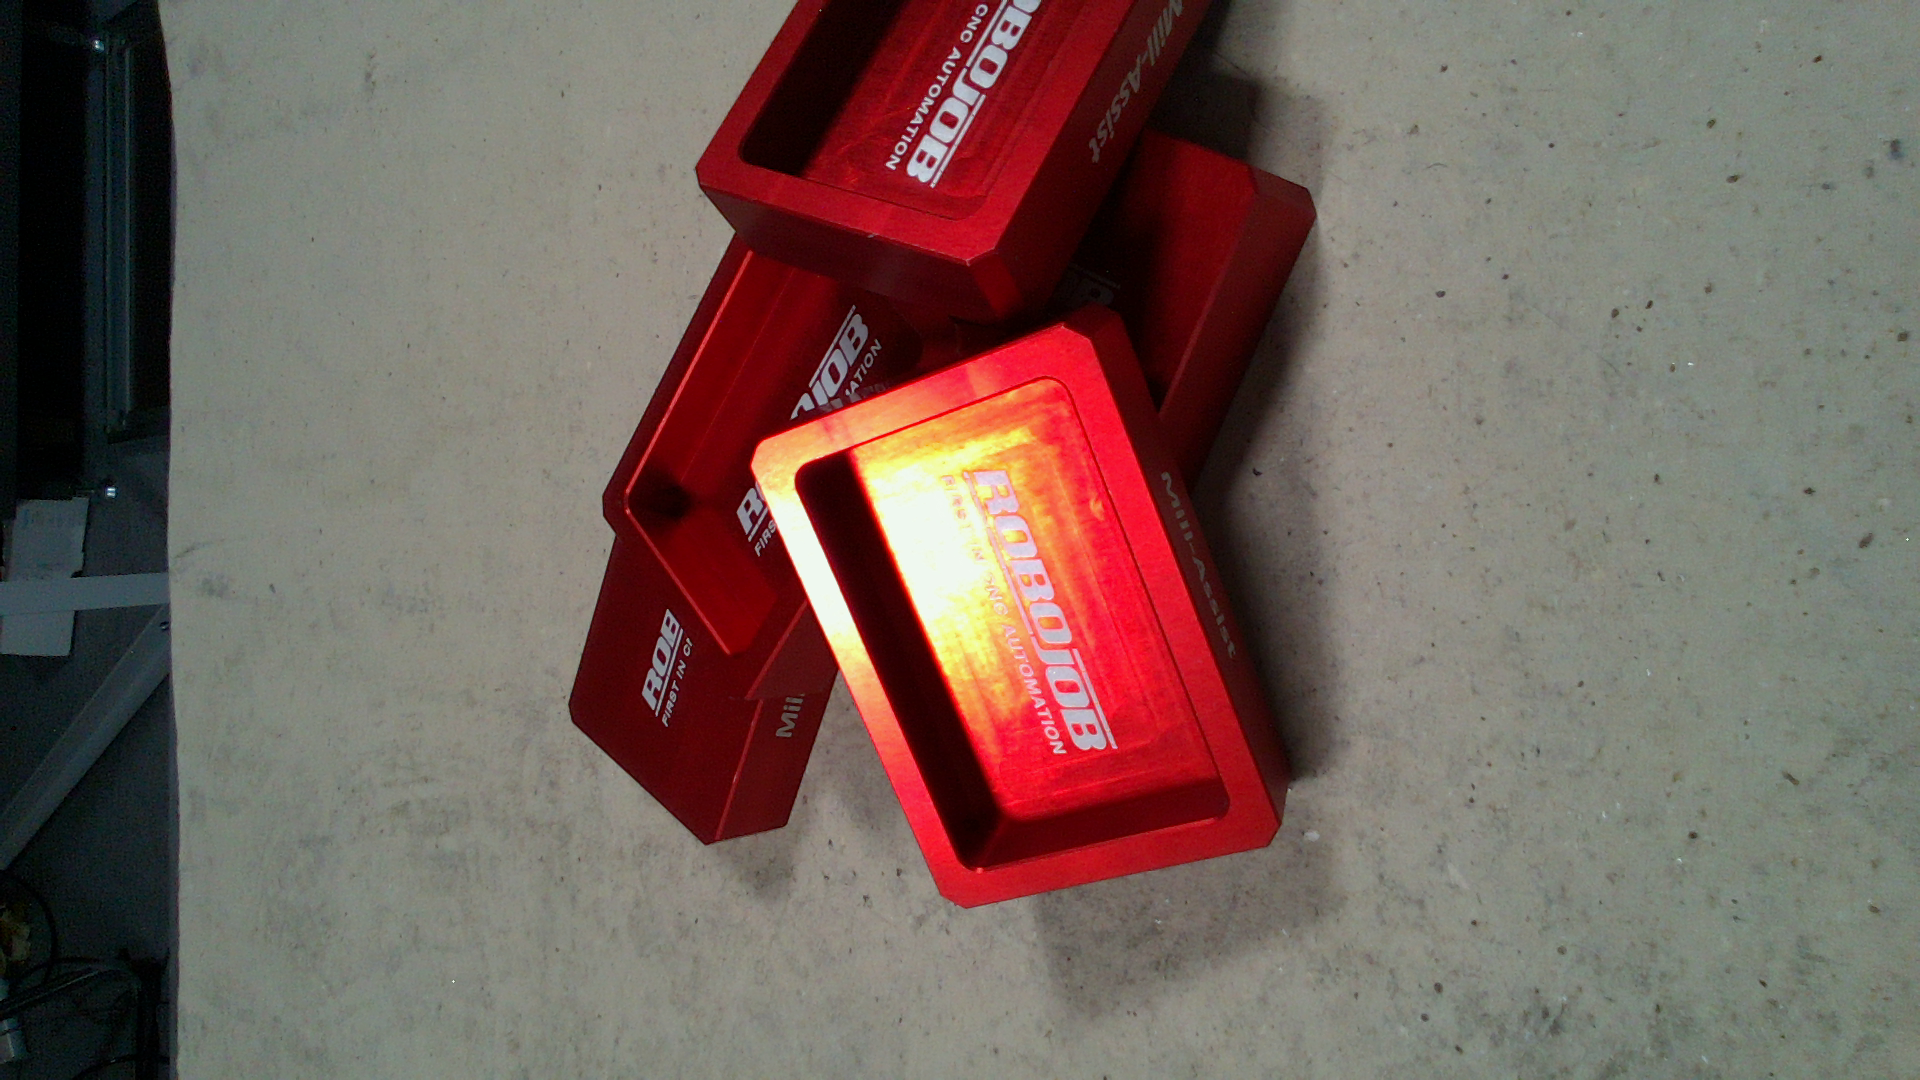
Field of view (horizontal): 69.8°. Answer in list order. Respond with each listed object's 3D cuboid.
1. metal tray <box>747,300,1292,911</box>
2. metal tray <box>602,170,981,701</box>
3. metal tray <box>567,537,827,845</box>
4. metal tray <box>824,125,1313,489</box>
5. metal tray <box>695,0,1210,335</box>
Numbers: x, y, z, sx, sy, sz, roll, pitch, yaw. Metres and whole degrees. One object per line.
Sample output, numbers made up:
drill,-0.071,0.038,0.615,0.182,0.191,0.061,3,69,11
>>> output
metal tray,0.016,0.019,0.333,0.090,0.030,0.130,-18,102,22
metal tray,-0.046,-0.030,0.391,0.090,0.030,0.130,49,119,29
metal tray,-0.081,0.022,0.459,0.090,0.030,0.130,31,109,36
metal tray,0.020,-0.074,0.375,0.130,0.030,0.090,34,111,35
metal tray,0.004,-0.123,0.343,0.090,0.030,0.130,22,77,28
